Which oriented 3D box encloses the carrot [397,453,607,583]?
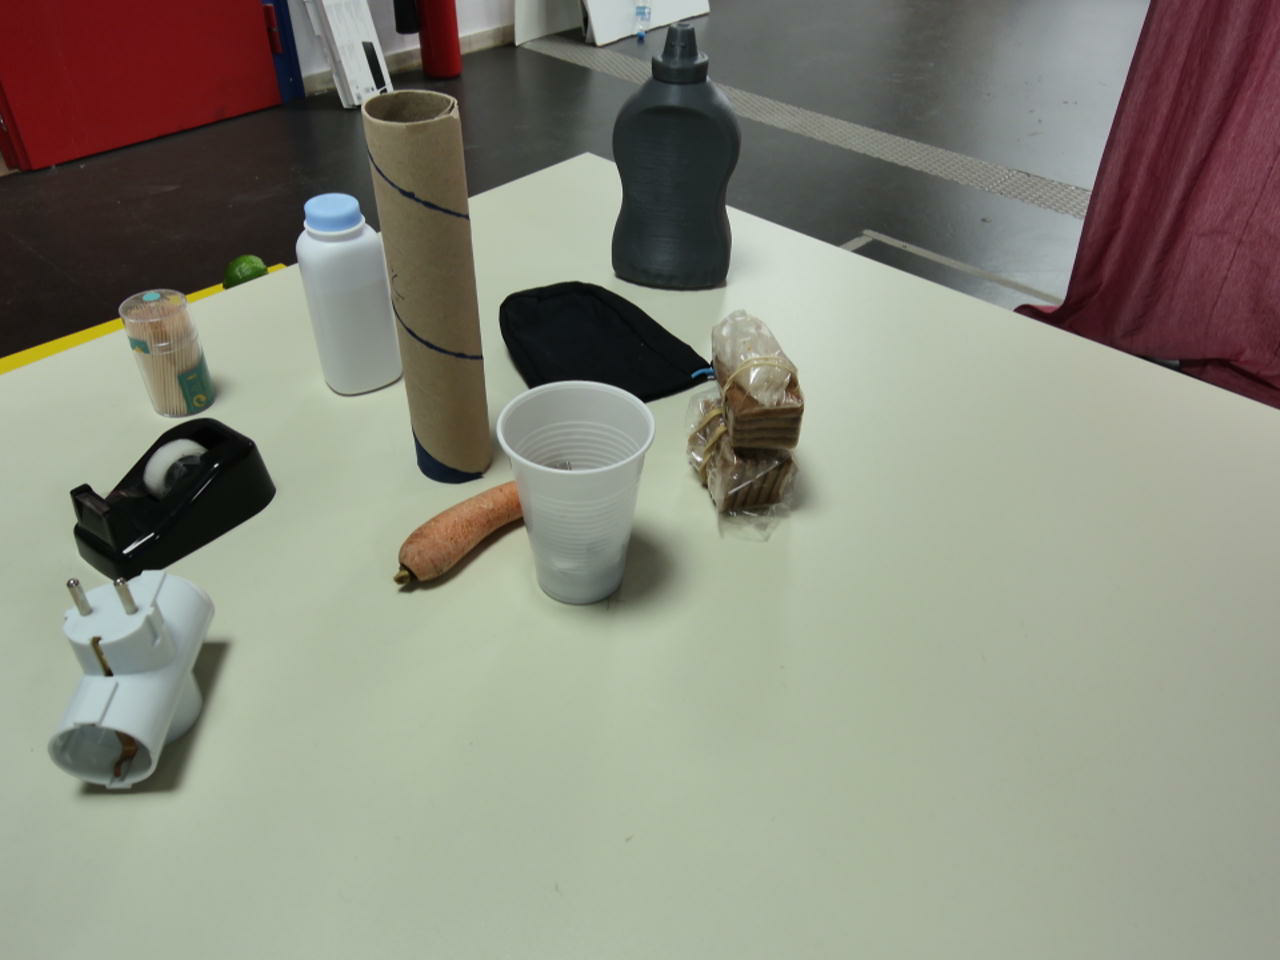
[{"bbox_3d":[-0.080,0.014,0.601,0.031,0.029,0.163,29,46,31],"label":"carrot"}]
